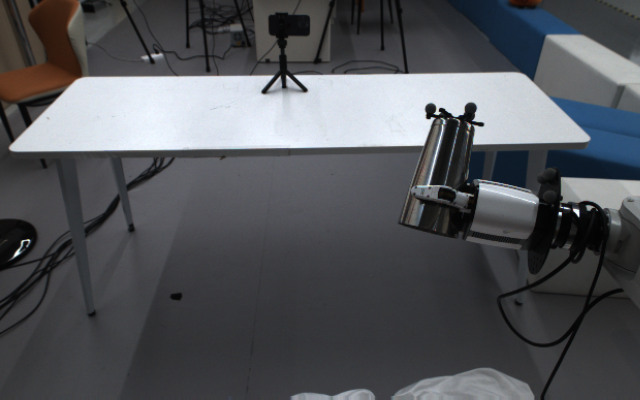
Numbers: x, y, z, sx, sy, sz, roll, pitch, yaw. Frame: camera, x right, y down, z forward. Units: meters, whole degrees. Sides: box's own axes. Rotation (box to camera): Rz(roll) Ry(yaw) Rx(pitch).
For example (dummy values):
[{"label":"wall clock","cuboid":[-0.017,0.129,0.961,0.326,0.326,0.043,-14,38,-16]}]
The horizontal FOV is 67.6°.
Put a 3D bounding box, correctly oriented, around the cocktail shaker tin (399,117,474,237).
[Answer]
[{"label":"cocktail shaker tin","cuboid":[0.184,-0.036,0.744,0.093,0.170,0.093,15,-4,1]}]
